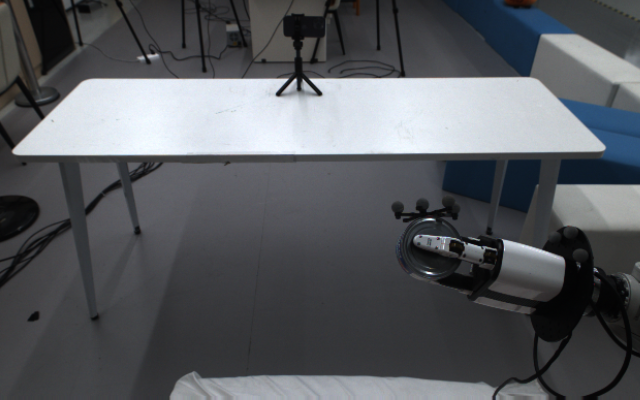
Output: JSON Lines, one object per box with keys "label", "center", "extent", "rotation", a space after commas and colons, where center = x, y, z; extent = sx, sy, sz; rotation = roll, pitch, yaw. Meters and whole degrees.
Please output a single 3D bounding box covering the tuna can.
{"label": "tuna can", "center": [0.149, 0.064, 0.656], "extent": [0.085, 0.034, 0.085], "rotation": [1, 70, -3]}
